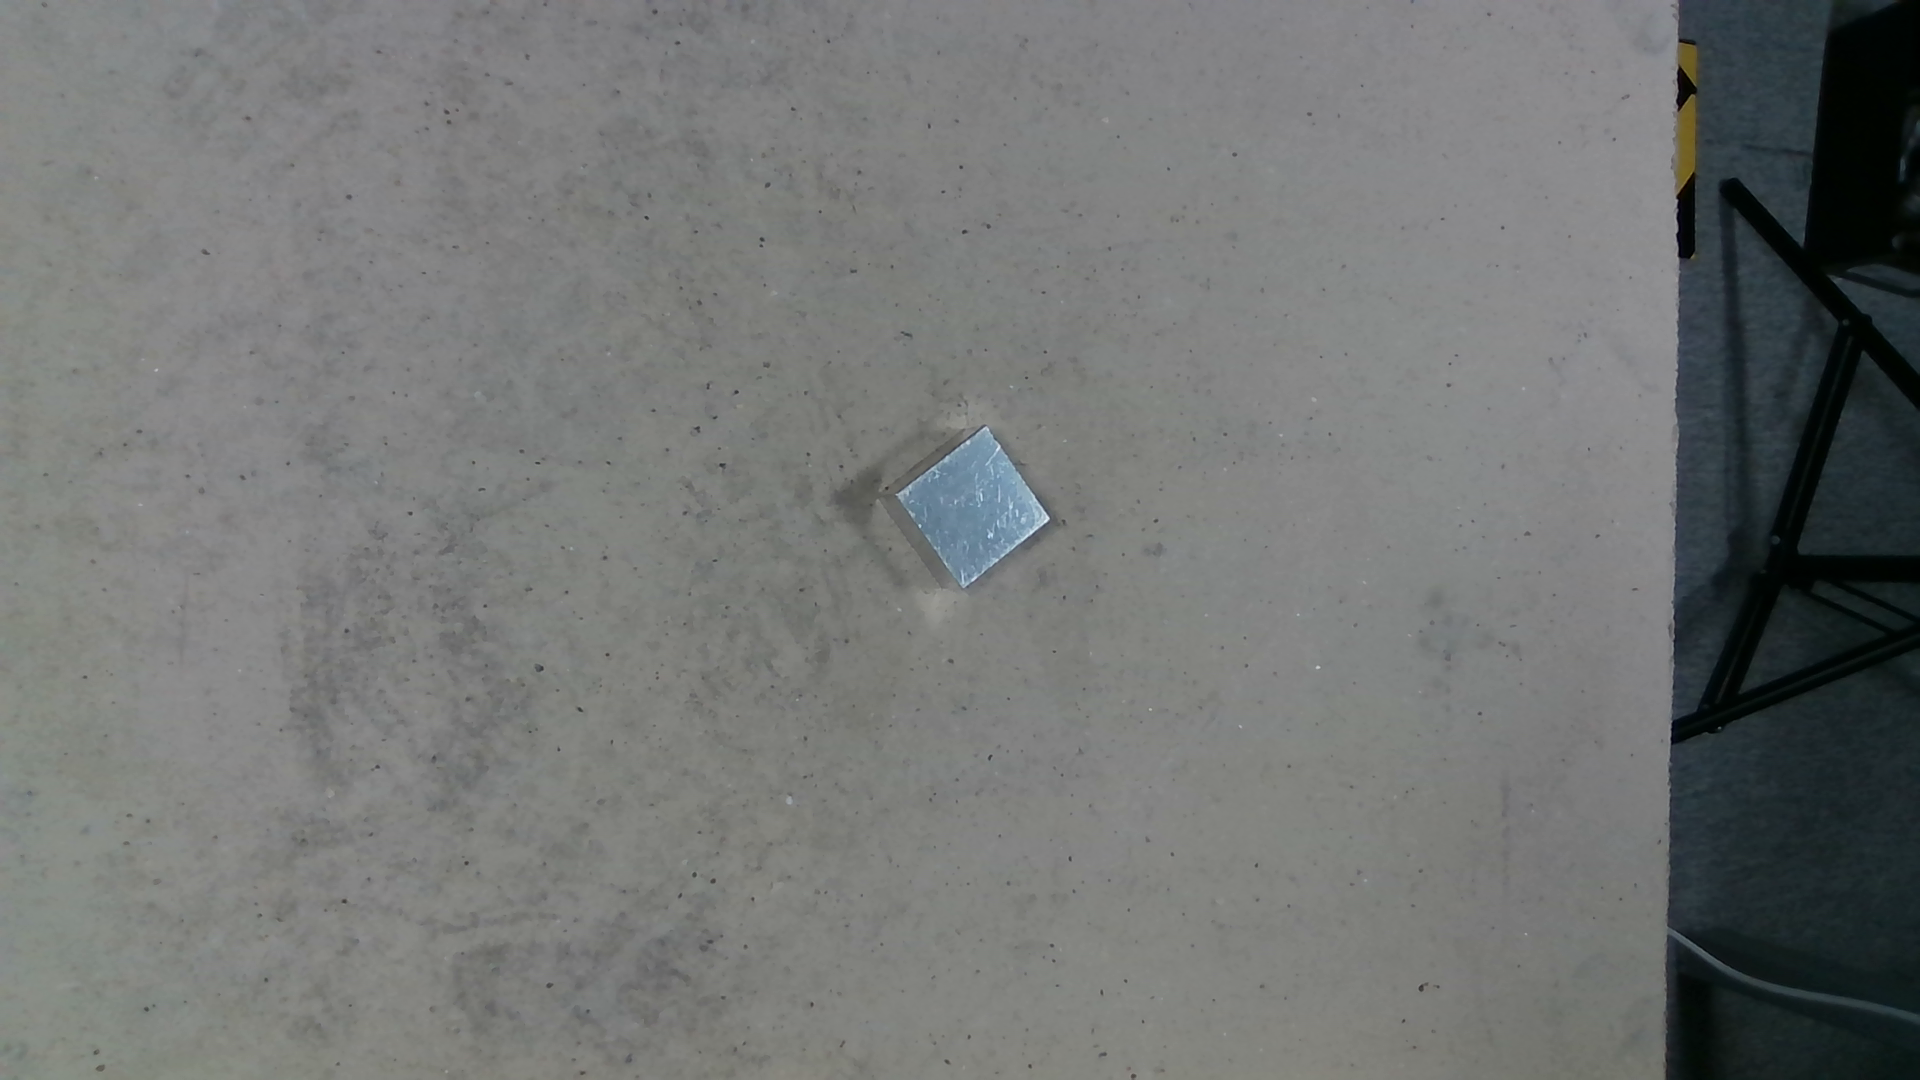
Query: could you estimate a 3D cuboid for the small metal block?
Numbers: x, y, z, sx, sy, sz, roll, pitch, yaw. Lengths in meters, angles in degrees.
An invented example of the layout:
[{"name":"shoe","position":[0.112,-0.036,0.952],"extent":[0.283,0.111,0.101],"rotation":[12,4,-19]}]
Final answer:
[{"name":"small metal block","position":[0.001,-0.014,0.587],"extent":[0.050,0.025,0.050],"rotation":[-39,103,-16]}]
